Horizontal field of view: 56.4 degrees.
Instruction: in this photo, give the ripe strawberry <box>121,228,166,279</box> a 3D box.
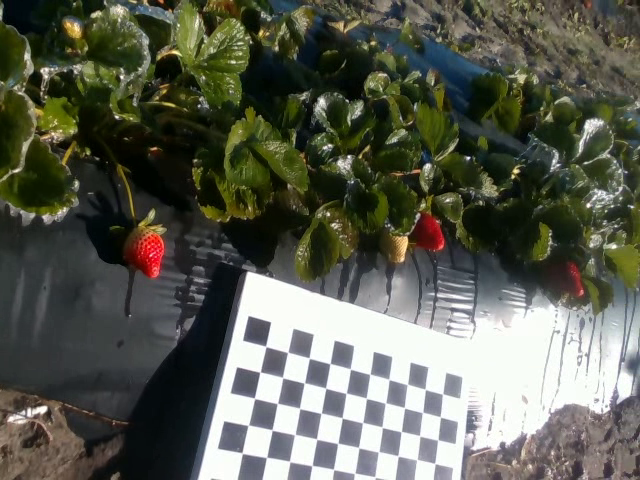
[{"bbox_3d":[-0.149,0.013,0.510,0.039,0.053,0.041,-4,-26,-30],"label":"ripe strawberry"}]
